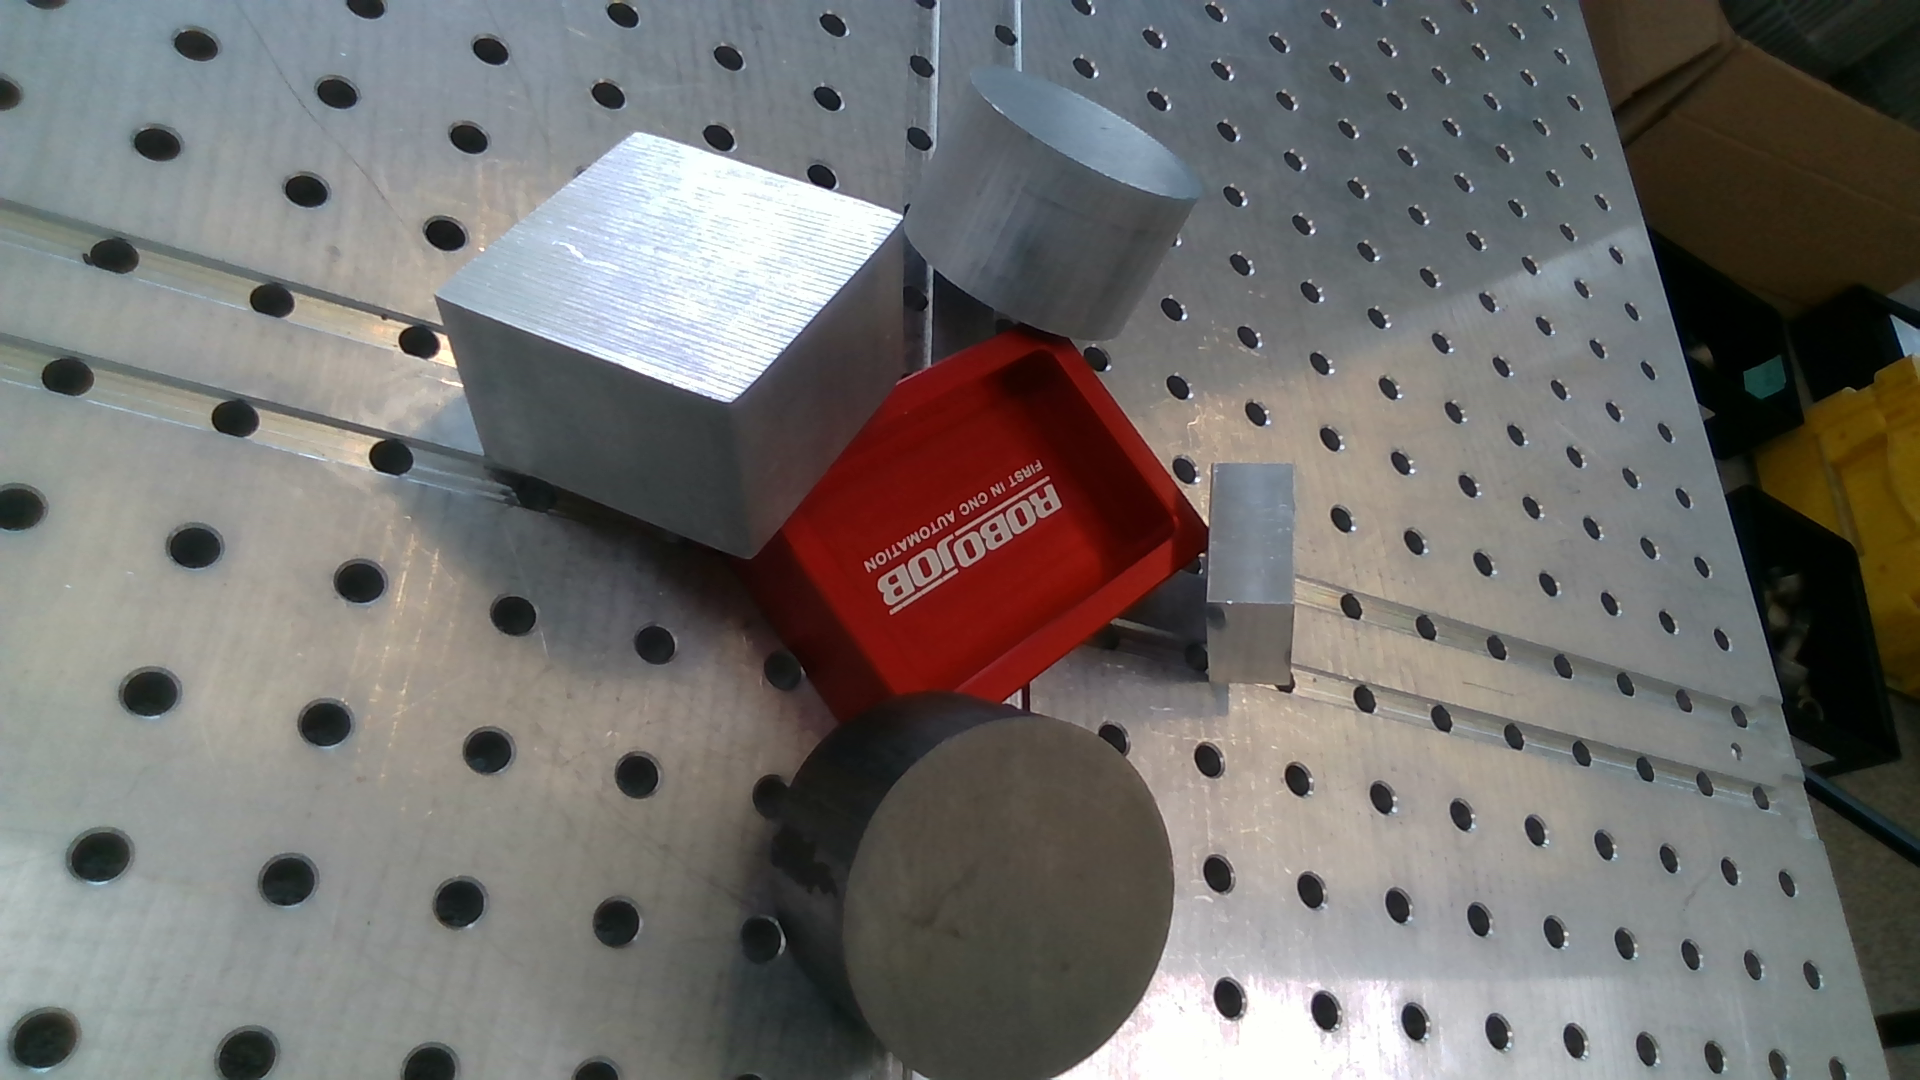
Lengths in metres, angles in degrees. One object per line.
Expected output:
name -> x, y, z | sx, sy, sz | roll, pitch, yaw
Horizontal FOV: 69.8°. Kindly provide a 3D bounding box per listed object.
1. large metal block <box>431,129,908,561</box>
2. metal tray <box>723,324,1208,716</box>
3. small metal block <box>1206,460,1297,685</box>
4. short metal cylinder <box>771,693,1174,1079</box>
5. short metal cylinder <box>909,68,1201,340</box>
large metal block -> -0.067, -0.052, 0.344 | 0.080, 0.050, 0.080 | 21, 50, 17
metal tray -> 0.004, -0.004, 0.397 | 0.130, 0.030, 0.090 | -32, 84, -39
small metal block -> 0.090, 0.010, 0.427 | 0.025, 0.050, 0.050 | 2, 57, 12
short metal cylinder -> 0.002, 0.078, 0.320 | 0.080, 0.050, 0.080 | 0, 91, -25
short metal cylinder -> 0.029, -0.107, 0.436 | 0.080, 0.050, 0.080 | 21, 31, -13
